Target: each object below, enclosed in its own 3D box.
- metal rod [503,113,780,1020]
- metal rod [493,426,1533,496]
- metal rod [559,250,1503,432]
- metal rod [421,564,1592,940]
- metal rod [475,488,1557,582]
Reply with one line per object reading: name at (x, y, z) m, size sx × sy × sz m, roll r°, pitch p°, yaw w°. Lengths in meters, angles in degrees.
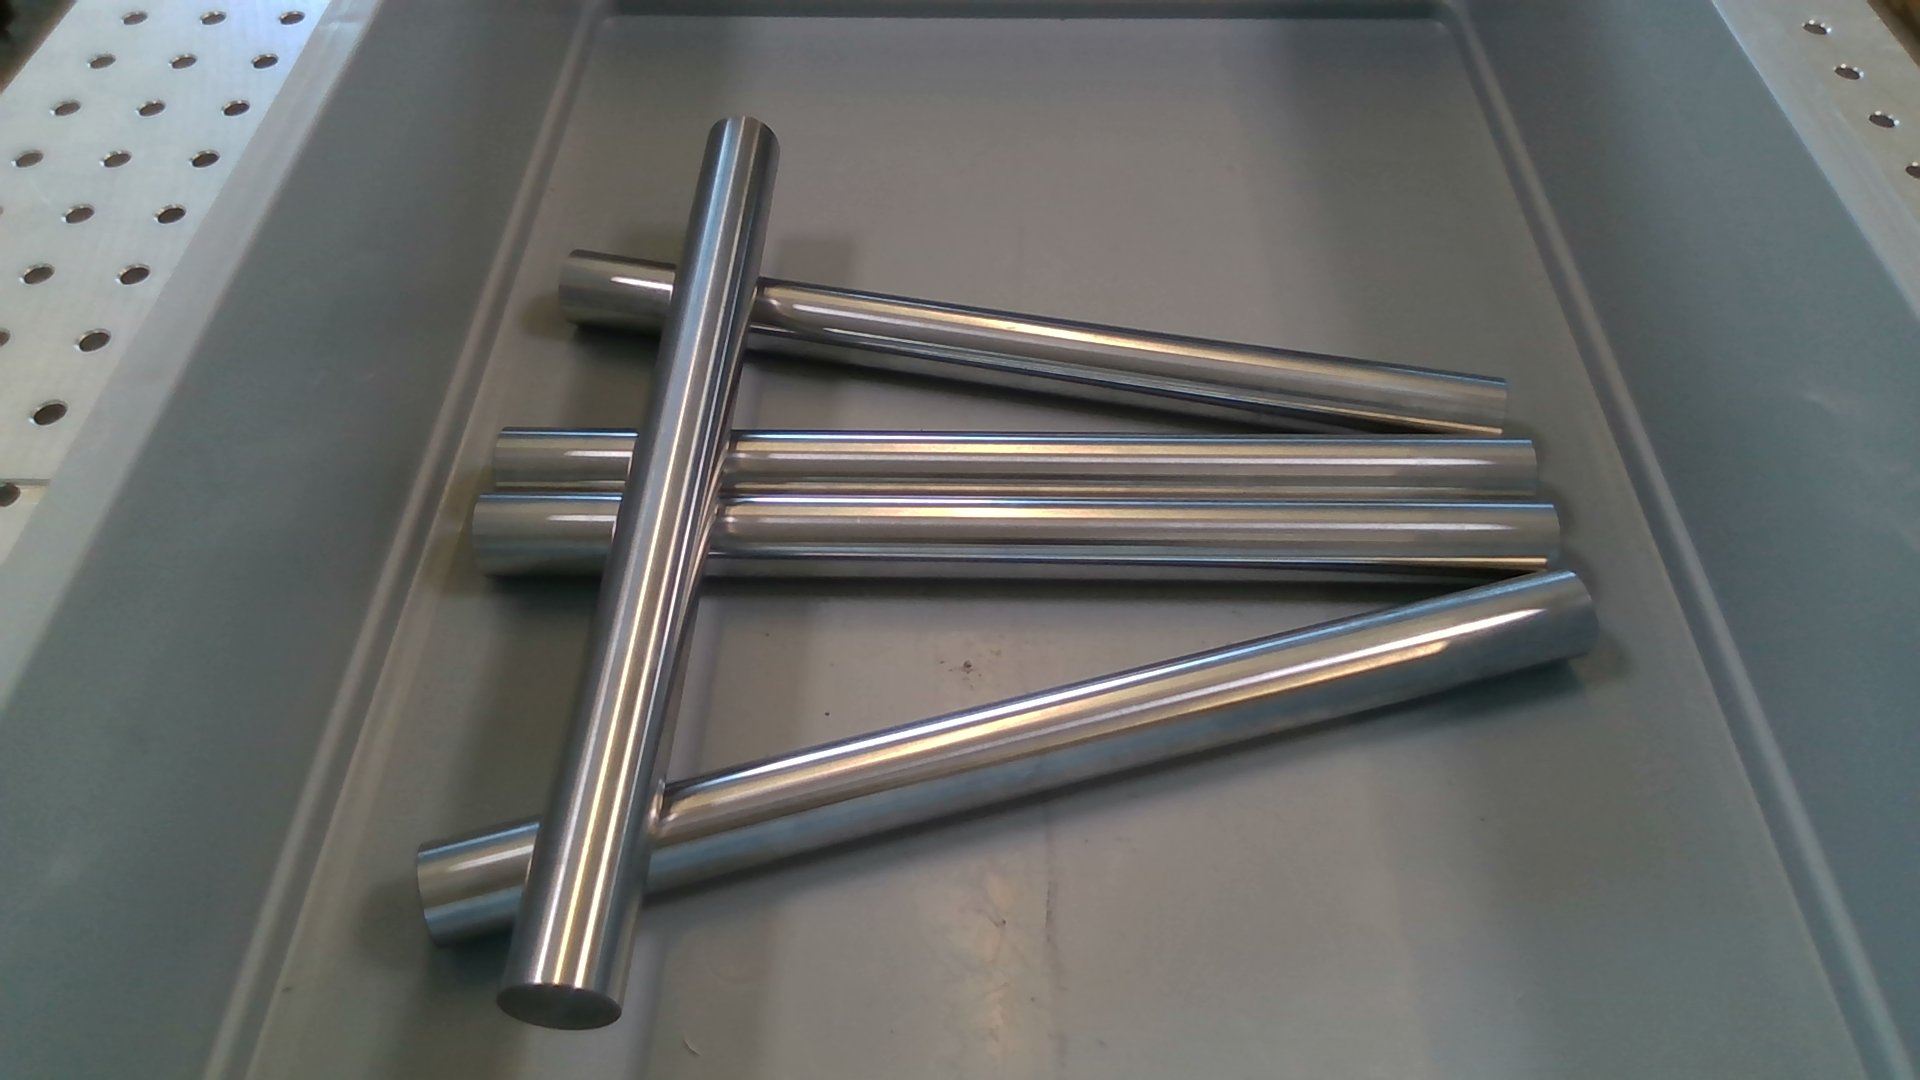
metal rod at (-0.077, -0.021, 0.376) m, size 0.025 × 0.025 × 0.299 m, roll 1°, pitch 50°, yaw 1°
metal rod at (0.015, -0.020, 0.410) m, size 0.300 × 0.025 × 0.025 m, roll 1°, pitch 50°, yaw 1°
metal rod at (0.017, -0.062, 0.445) m, size 0.300 × 0.025 × 0.025 m, roll 9°, pitch 51°, yaw 8°
metal rod at (0.021, 0.050, 0.351) m, size 0.300 × 0.025 × 0.025 m, roll -12°, pitch 51°, yaw -10°
metal rod at (0.015, -0.001, 0.394) m, size 0.300 × 0.025 × 0.025 m, roll 0°, pitch 50°, yaw 0°
